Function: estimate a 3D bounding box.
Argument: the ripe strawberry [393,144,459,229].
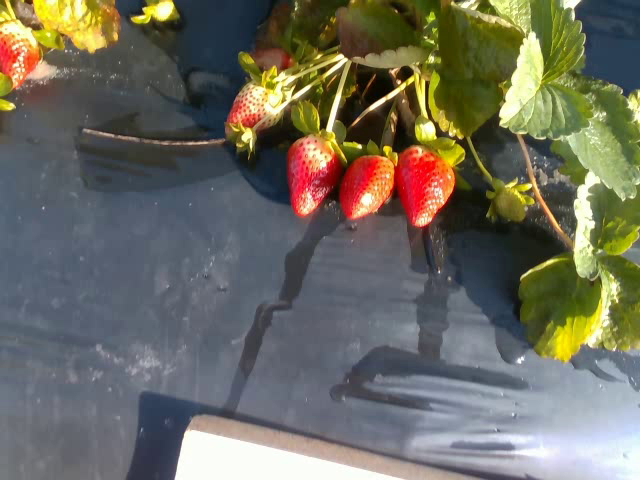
[{"bbox_3d":[0.051,-0.021,0.293,0.035,0.041,0.034,8,-37,5],"label":"ripe strawberry"}]

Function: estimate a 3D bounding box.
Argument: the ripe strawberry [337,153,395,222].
[{"bbox_3d":[0.022,-0.026,0.290,0.030,0.037,0.039,22,40,1],"label":"ripe strawberry"}]

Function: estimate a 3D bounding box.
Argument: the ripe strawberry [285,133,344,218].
[{"bbox_3d":[-0.005,-0.033,0.299,0.031,0.046,0.023,12,-1,4],"label":"ripe strawberry"}]
